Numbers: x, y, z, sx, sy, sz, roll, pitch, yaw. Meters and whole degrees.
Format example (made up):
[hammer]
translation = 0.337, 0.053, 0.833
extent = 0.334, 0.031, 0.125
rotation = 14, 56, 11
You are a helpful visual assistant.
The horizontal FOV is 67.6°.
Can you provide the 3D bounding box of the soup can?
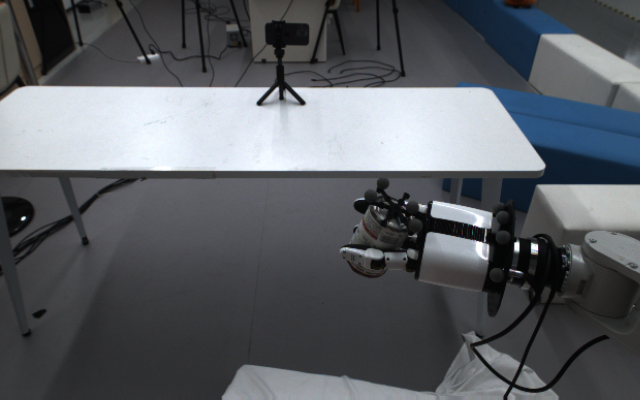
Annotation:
[soup can]
translation = 0.084, 0.051, 0.680
extent = 0.067, 0.101, 0.067
rotation = 14, 39, -12
